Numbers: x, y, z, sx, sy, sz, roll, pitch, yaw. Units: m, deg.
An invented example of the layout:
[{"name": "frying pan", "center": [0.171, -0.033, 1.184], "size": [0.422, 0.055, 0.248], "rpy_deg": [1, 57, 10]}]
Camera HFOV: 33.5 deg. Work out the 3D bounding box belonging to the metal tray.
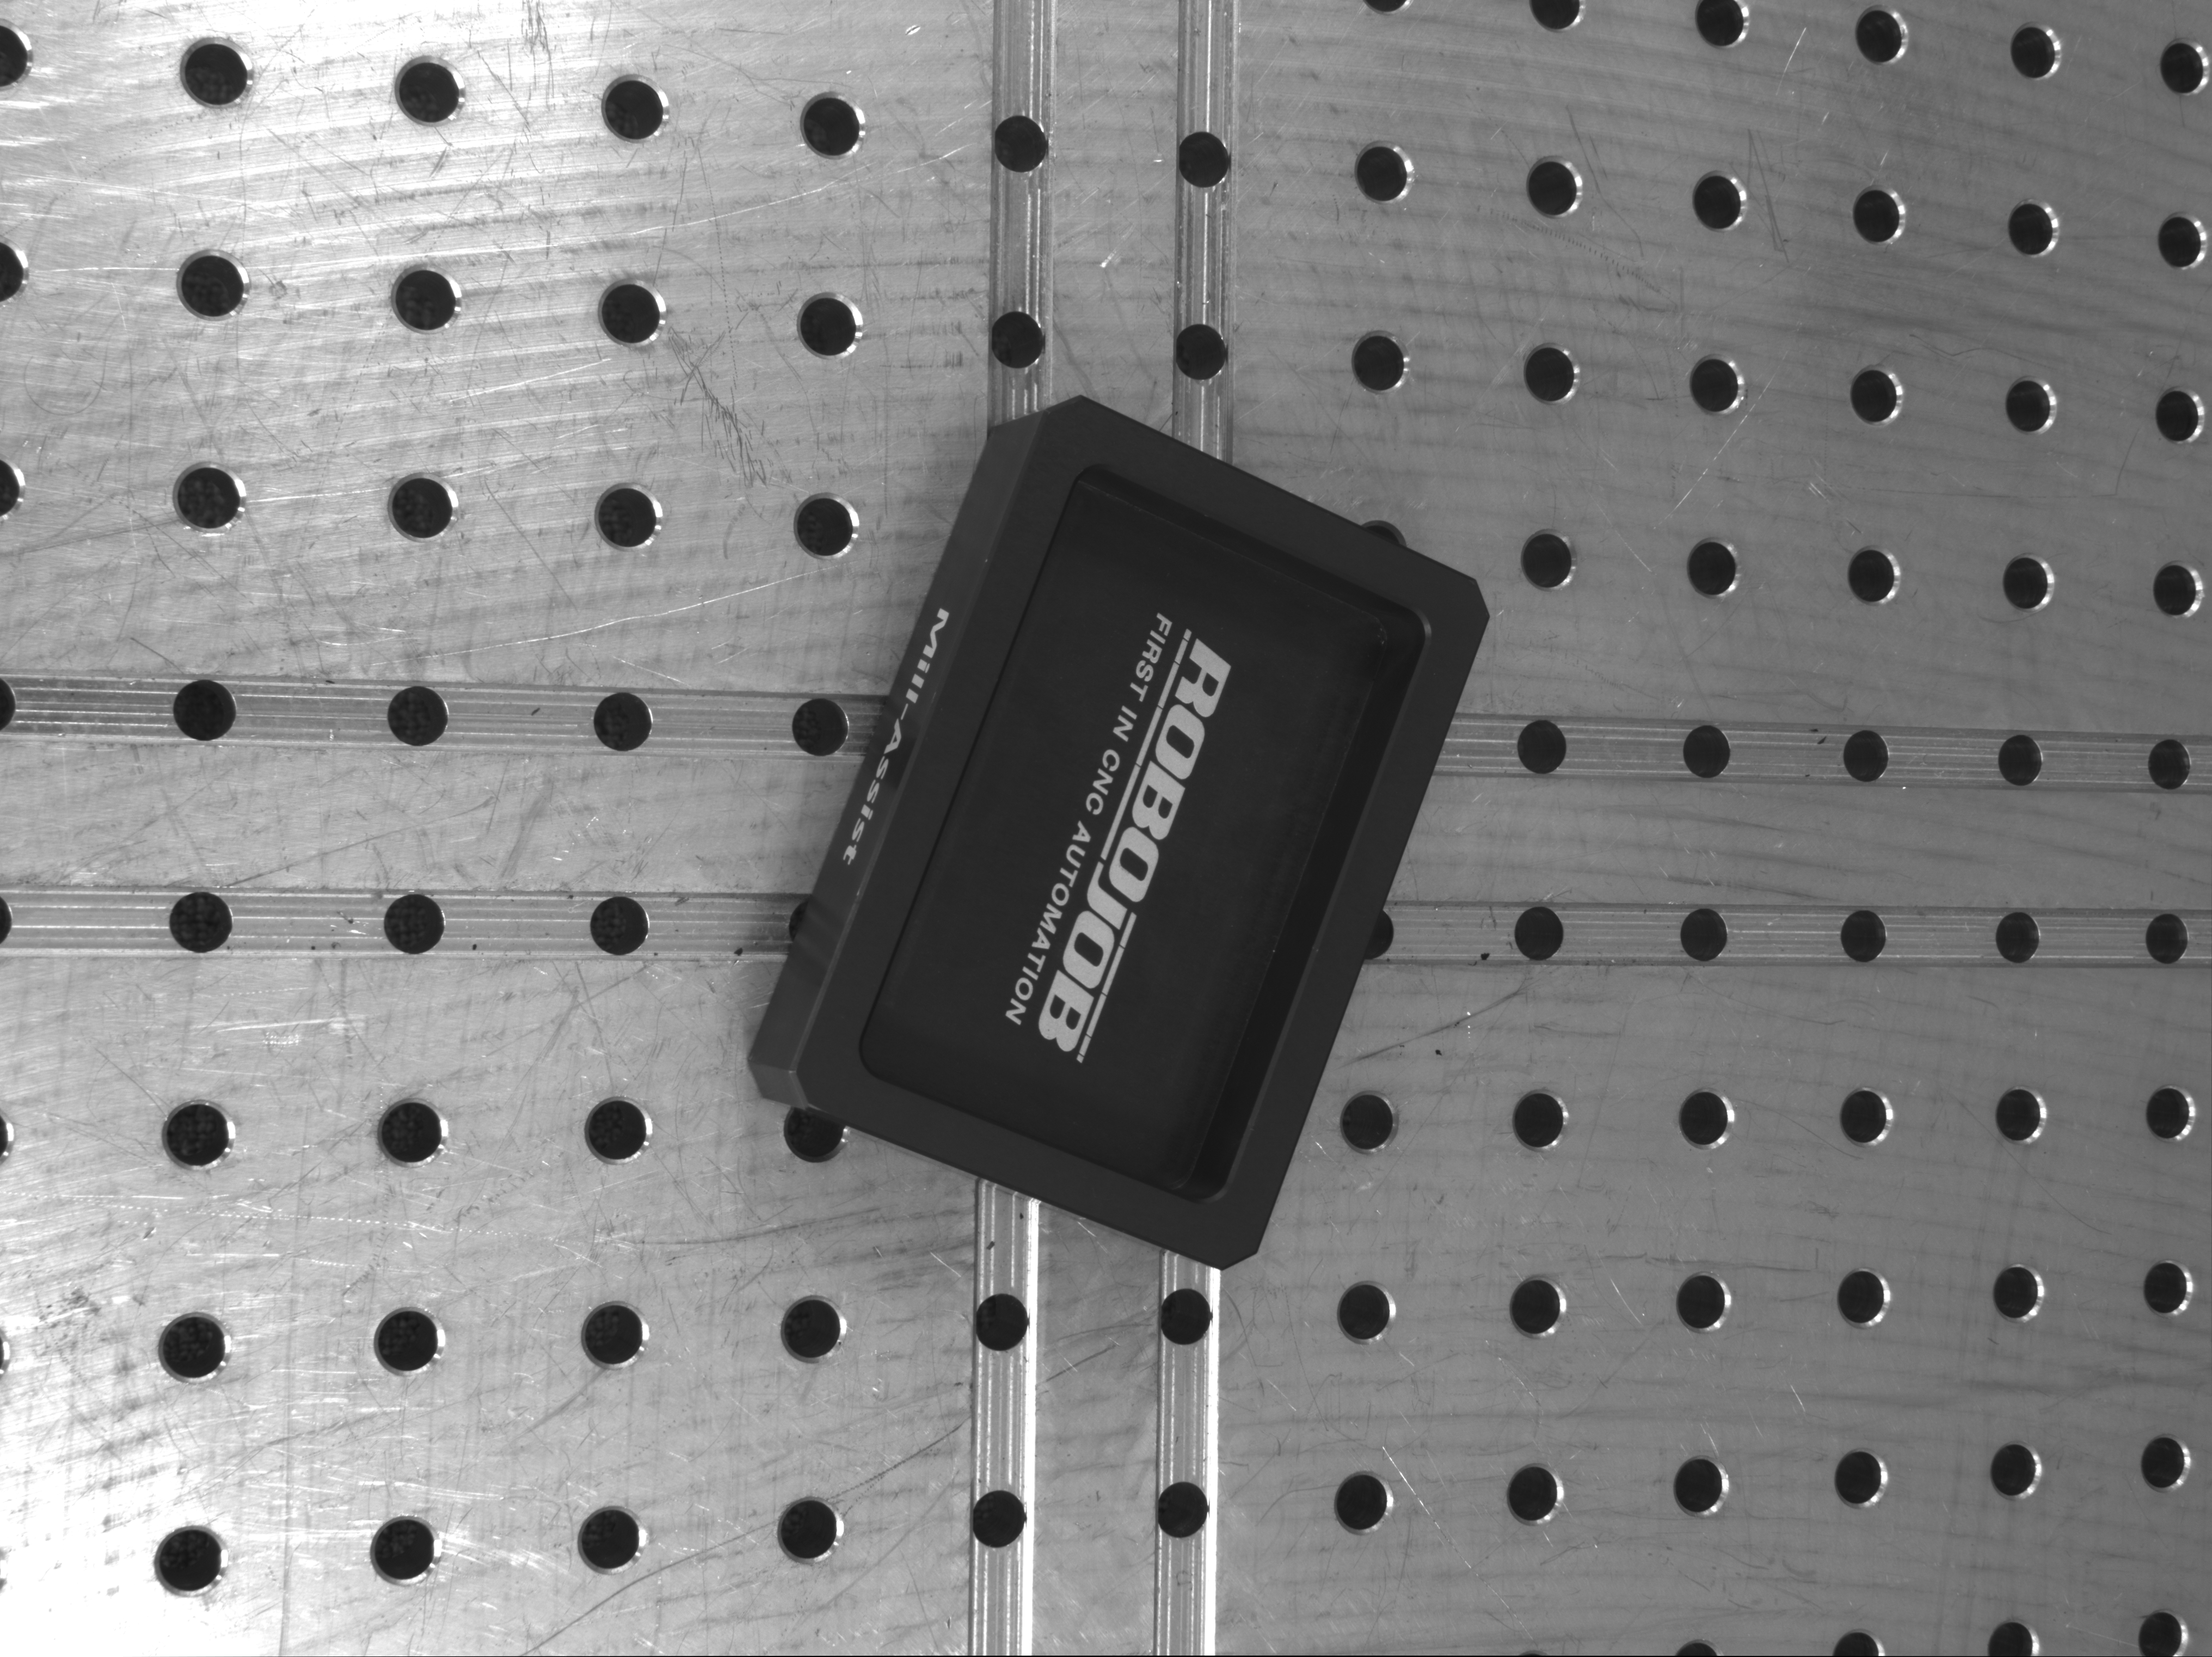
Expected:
[{"name": "metal tray", "center": [0.003, 0.002, 0.644], "size": [0.090, 0.030, 0.130], "rpy_deg": [23, 83, -19]}]
